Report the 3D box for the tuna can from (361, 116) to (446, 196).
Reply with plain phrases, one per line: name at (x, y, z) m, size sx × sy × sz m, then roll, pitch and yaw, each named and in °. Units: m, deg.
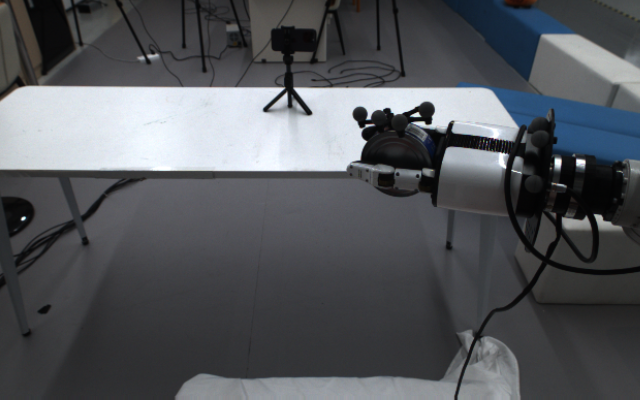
tuna can at (0.096, -0.050, 0.576) m, size 0.085 × 0.085 × 0.034 m, roll 17°, pitch 37°, yaw 20°
